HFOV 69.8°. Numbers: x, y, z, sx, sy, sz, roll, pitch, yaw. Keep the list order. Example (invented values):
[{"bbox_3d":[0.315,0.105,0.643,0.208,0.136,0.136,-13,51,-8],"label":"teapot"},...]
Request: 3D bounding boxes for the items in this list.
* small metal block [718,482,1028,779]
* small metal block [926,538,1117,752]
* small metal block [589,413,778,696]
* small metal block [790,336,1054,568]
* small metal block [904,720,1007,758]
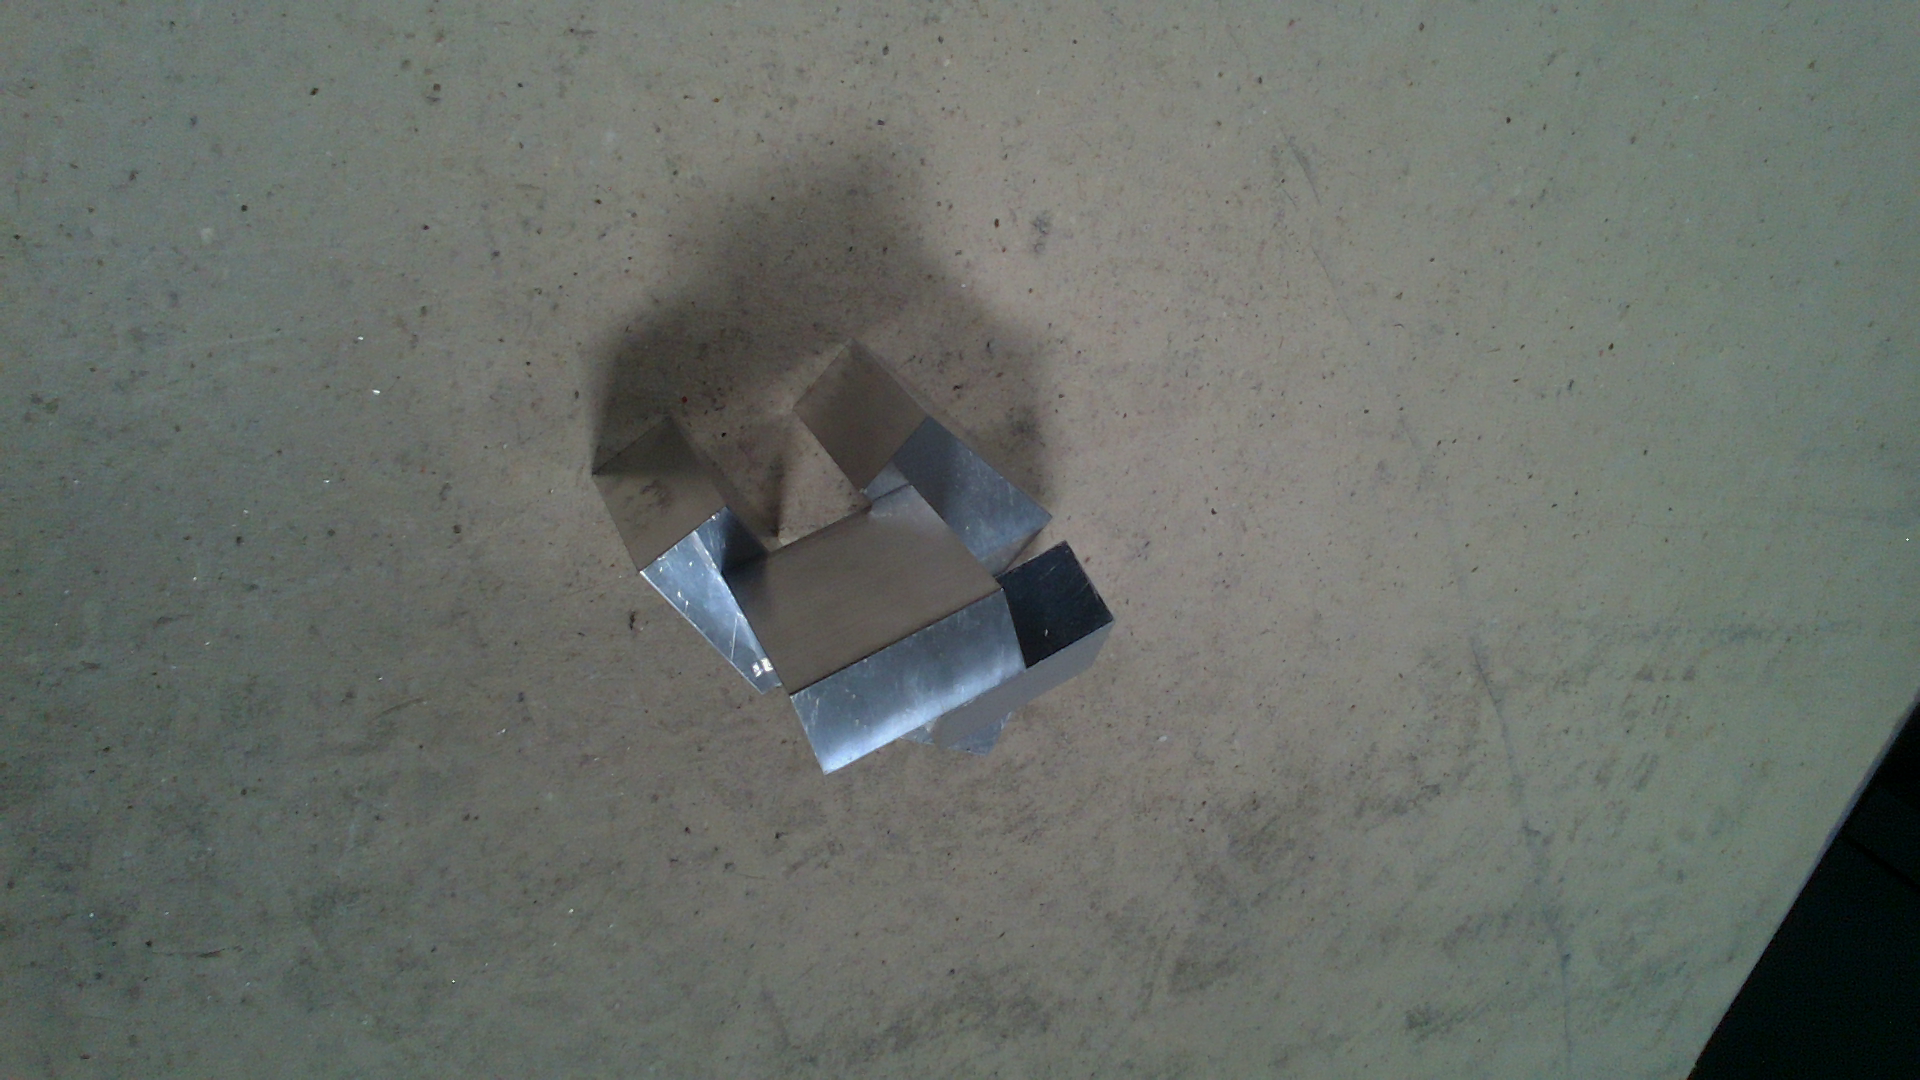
[{"bbox_3d":[-0.020,0.019,0.309,0.050,0.050,0.025,-26,128,-12],"label":"small metal block"},{"bbox_3d":[0.010,0.029,0.365,0.050,0.025,0.050,-28,165,-11],"label":"small metal block"},{"bbox_3d":[-0.061,0.003,0.342,0.025,0.050,0.050,-38,129,-2],"label":"small metal block"},{"bbox_3d":[-0.010,-0.020,0.356,0.025,0.050,0.050,-48,129,6],"label":"small metal block"},{"bbox_3d":[-0.005,0.033,0.407,0.050,0.025,0.050,17,109,-35],"label":"small metal block"}]
